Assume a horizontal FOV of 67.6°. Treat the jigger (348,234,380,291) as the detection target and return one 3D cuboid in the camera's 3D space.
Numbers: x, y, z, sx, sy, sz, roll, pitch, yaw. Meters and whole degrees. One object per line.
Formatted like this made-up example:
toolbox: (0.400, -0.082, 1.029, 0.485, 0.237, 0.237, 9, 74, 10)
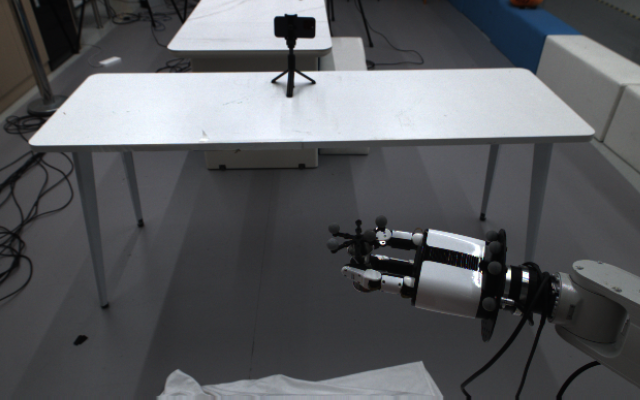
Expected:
jigger: (0.066, 0.096, 0.721, 0.043, 0.071, 0.043, -9, 32, 6)
